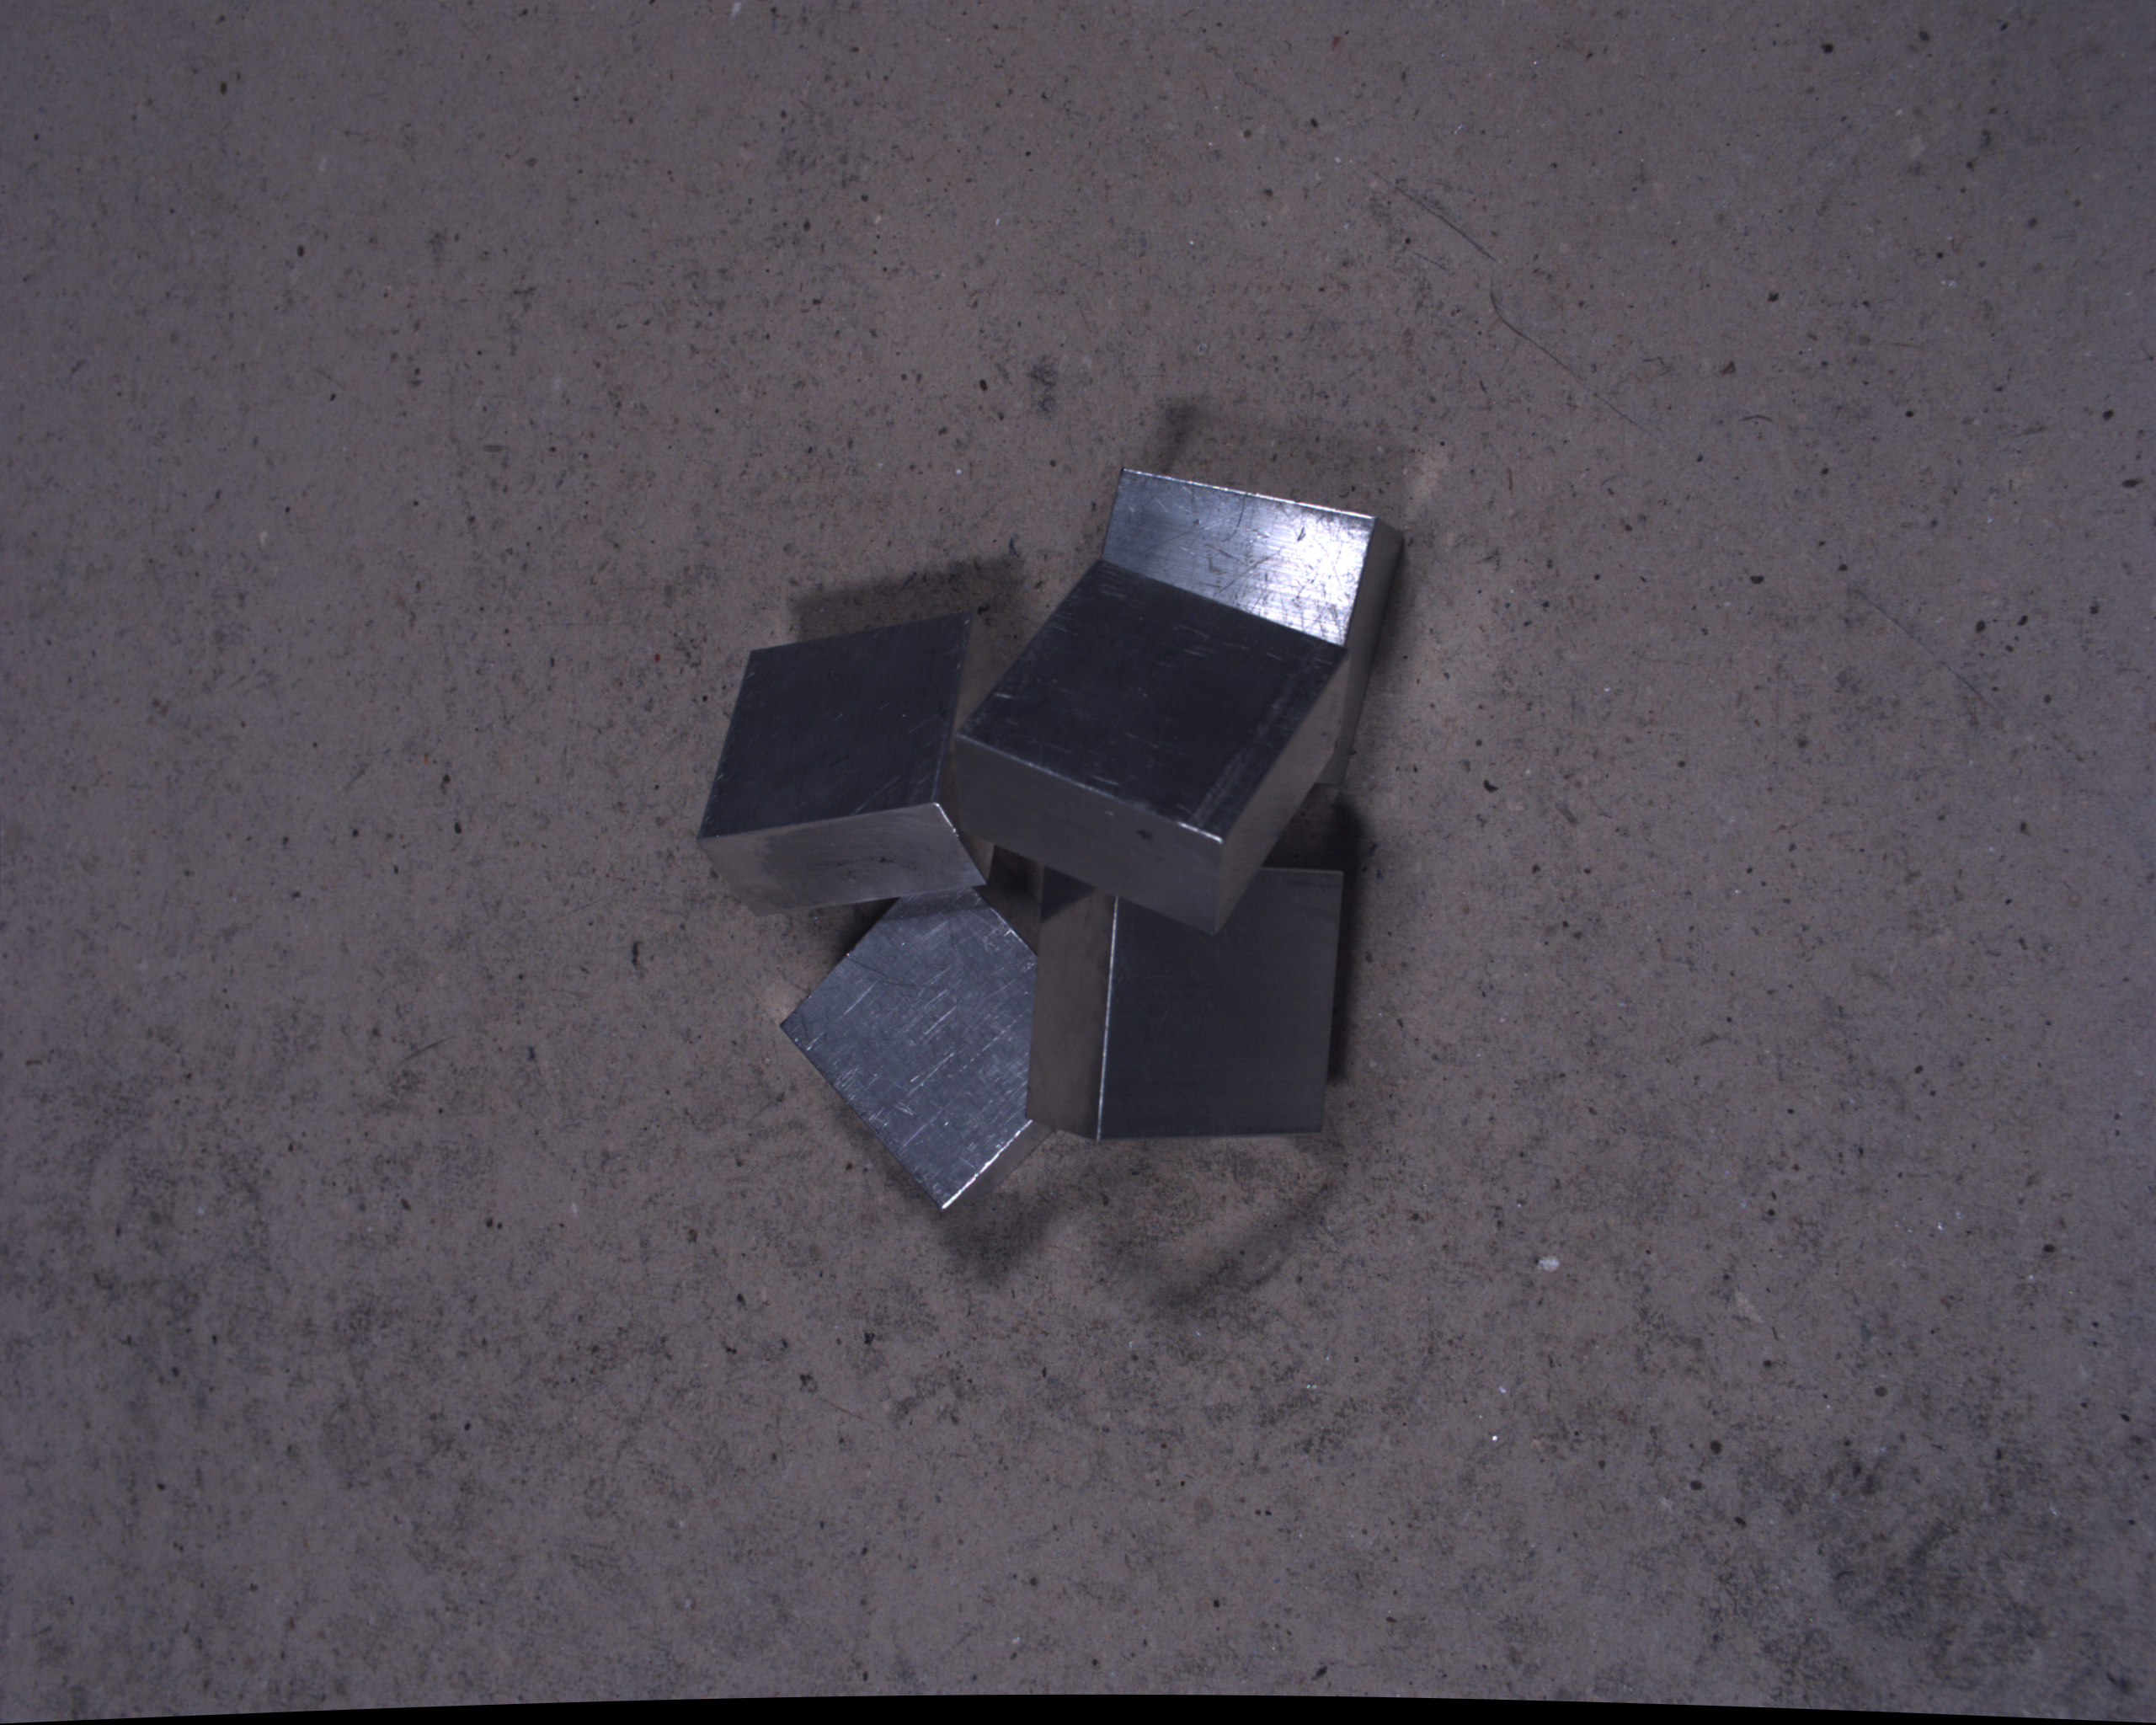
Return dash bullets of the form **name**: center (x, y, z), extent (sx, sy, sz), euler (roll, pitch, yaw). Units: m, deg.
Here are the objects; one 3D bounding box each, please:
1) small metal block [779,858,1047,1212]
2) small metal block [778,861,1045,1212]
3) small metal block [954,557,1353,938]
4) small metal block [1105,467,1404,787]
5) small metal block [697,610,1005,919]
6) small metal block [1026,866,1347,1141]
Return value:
- **small metal block**: center (-0.022, 0.033, 0.417), extent (0.050, 0.025, 0.050), euler (-46, 76, 14)
- **small metal block**: center (-0.022, 0.033, 0.417), extent (0.050, 0.025, 0.050), euler (-46, 76, 14)
- **small metal block**: center (0.014, -0.021, 0.364), extent (0.050, 0.025, 0.050), euler (23, 54, 18)
- **small metal block**: center (0.030, -0.045, 0.399), extent (0.050, 0.025, 0.050), euler (15, 95, 19)
- **small metal block**: center (-0.042, -0.019, 0.411), extent (0.050, 0.025, 0.050), euler (-8, 50, 19)
- **small metal block**: center (0.020, 0.024, 0.387), extent (0.025, 0.050, 0.050), euler (6, 92, 58)
